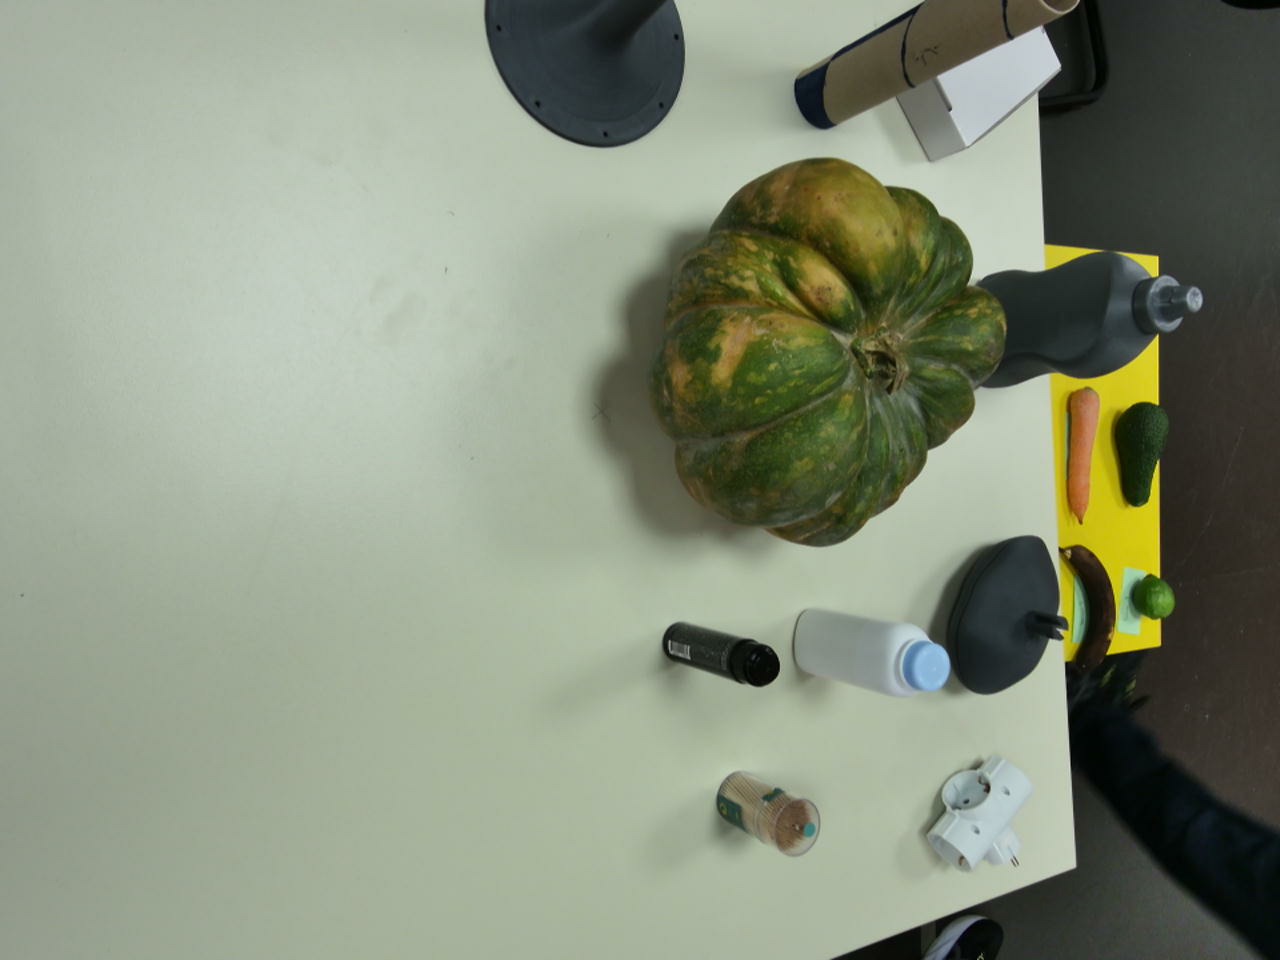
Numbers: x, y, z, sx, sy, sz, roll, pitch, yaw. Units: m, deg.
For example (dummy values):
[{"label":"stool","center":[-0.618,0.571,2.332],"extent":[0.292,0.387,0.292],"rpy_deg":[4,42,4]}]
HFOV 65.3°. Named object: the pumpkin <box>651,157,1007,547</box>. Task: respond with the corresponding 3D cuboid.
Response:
[{"label":"pumpkin","center":[0.126,-0.084,0.683],"extent":[0.237,0.173,0.270],"rpy_deg":[36,74,-24]}]
